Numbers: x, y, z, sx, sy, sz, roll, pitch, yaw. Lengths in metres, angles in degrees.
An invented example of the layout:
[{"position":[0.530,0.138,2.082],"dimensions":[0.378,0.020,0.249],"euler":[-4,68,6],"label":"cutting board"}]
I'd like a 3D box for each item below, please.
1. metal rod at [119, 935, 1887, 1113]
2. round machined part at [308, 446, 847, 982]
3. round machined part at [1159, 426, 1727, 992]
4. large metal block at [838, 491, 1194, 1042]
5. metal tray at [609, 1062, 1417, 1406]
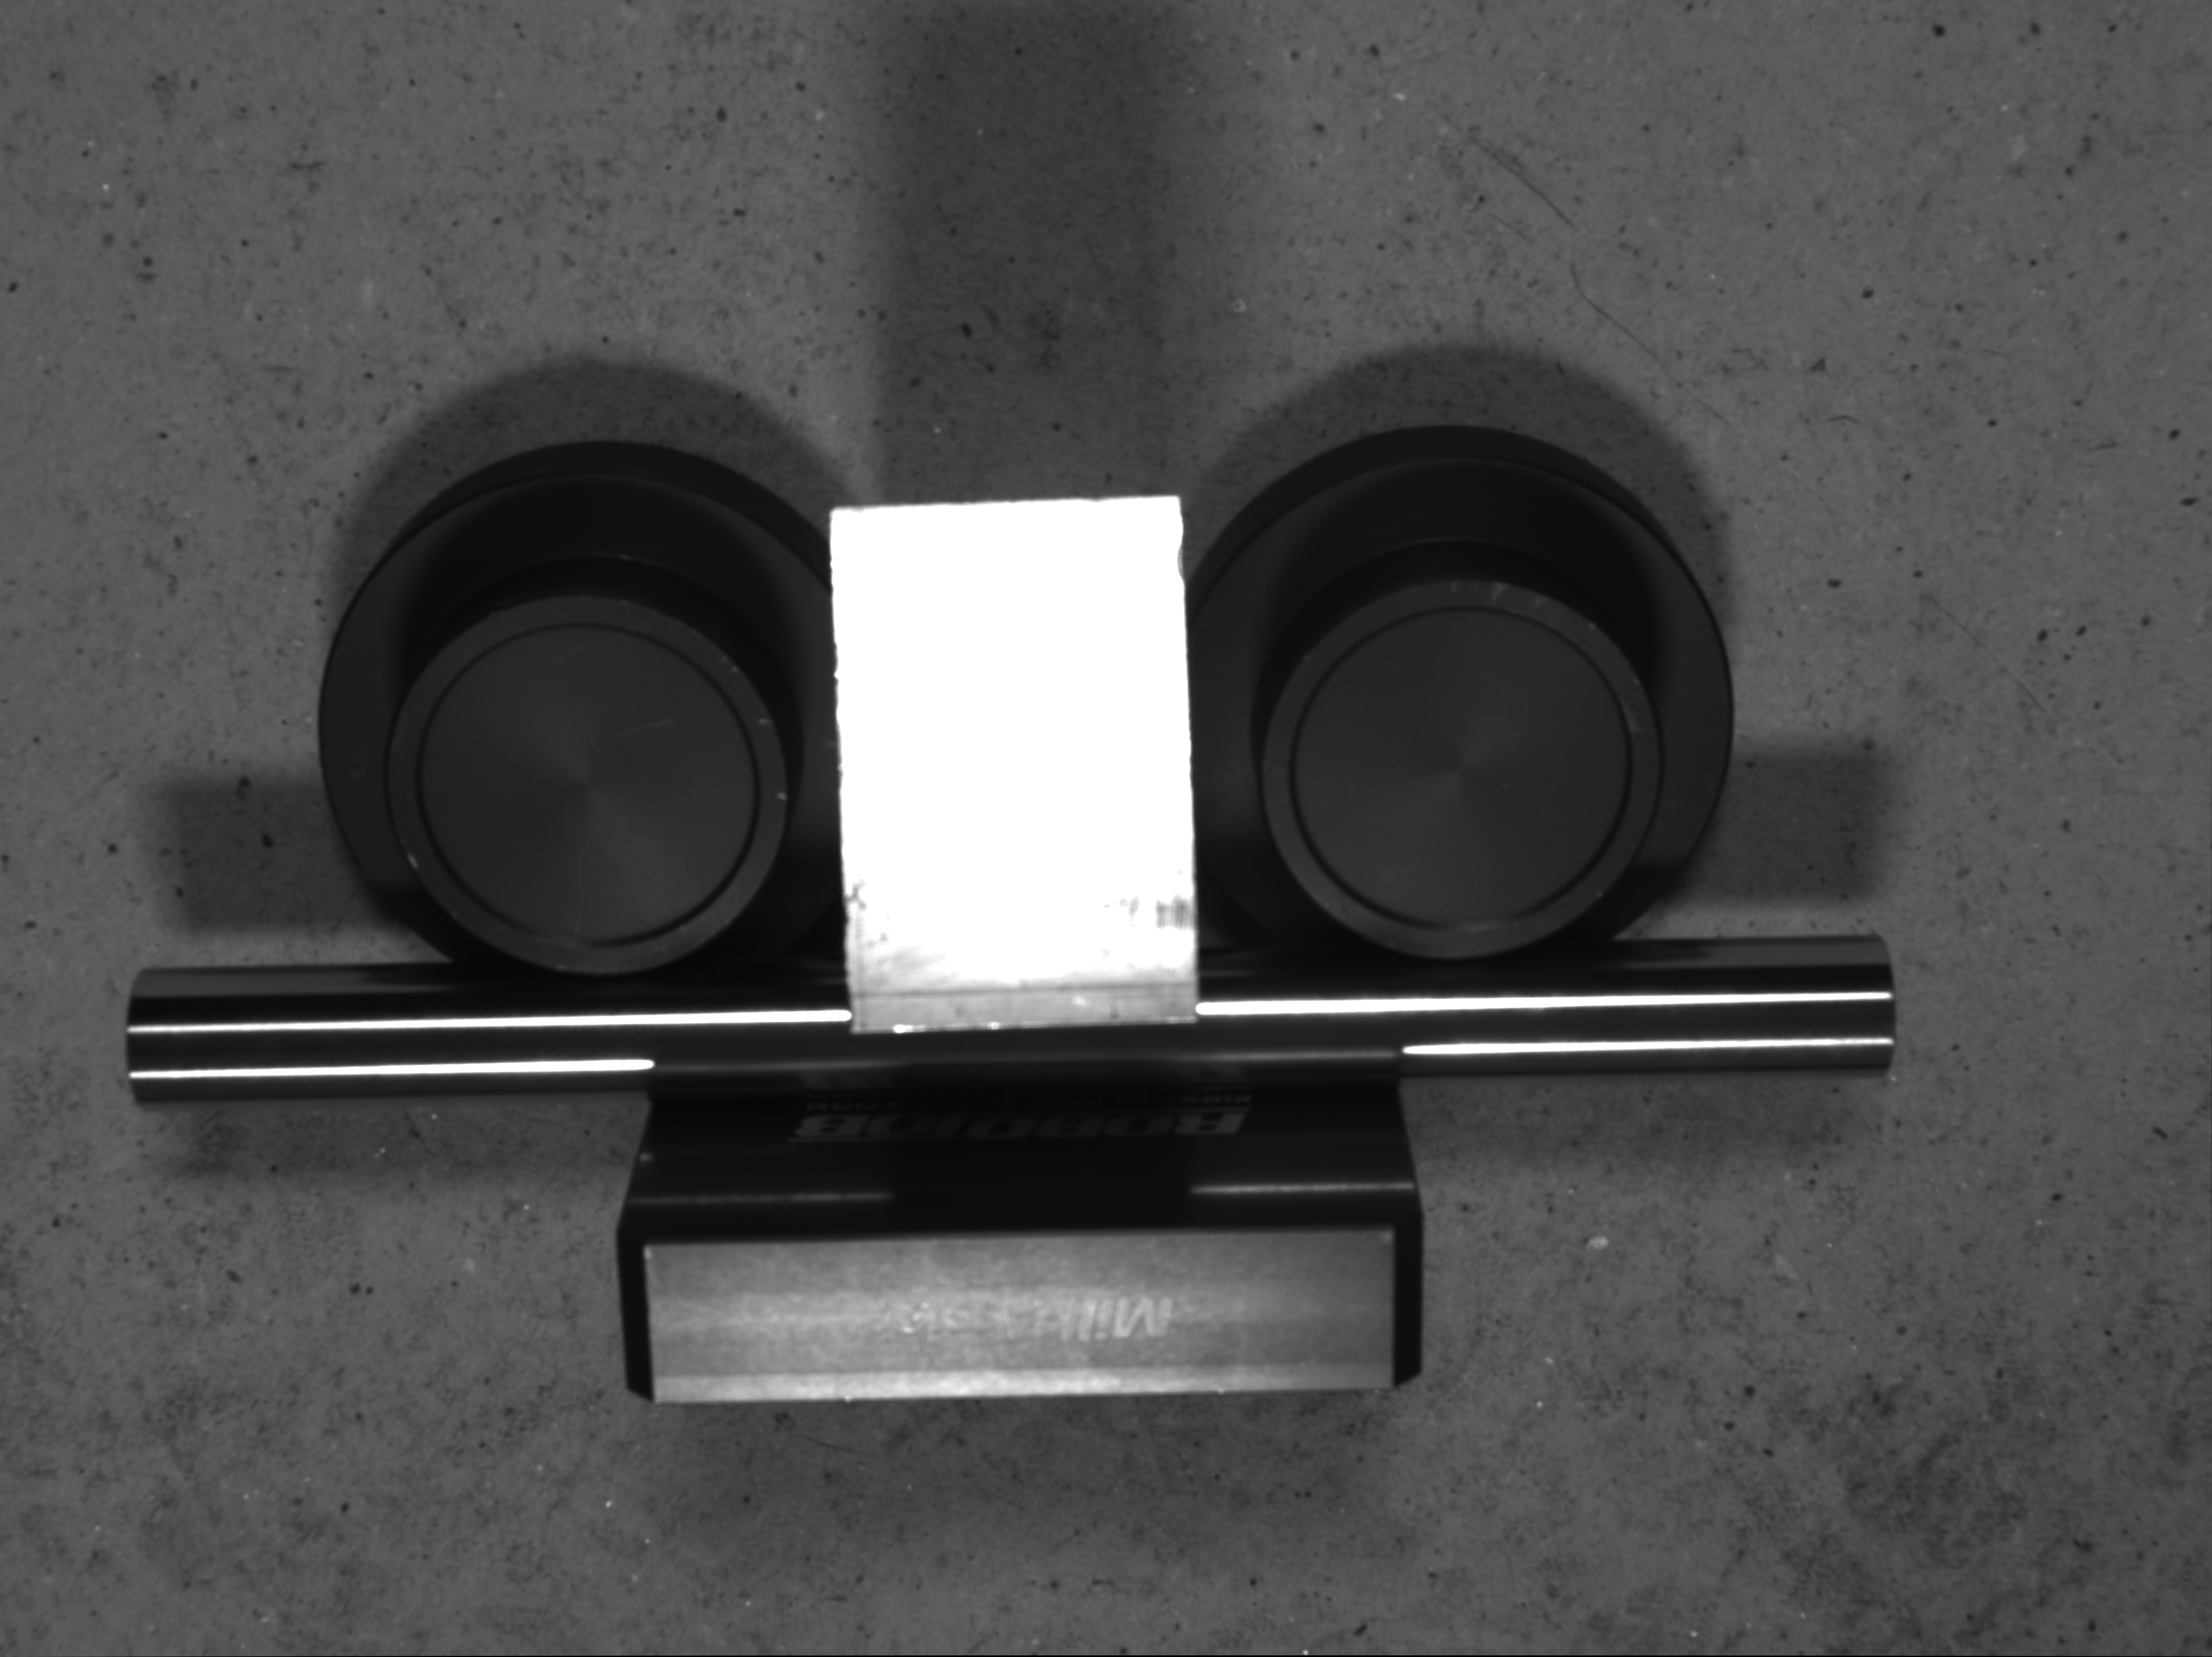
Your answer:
[{"position":[-0.017,0.034,0.634],"dimensions":[0.300,0.025,0.025],"euler":[-1,110,0],"label":"metal rod"},{"position":[-0.087,-0.013,0.626],"dimensions":[0.098,0.042,0.098],"euler":[0,110,-1],"label":"round machined part"},{"position":[0.058,-0.017,0.628],"dimensions":[0.098,0.042,0.098],"euler":[0,110,-1],"label":"round machined part"},{"position":[-0.013,-0.007,0.583],"dimensions":[0.050,0.080,0.080],"euler":[-2,86,0],"label":"large metal block"},{"position":[-0.015,0.064,0.631],"dimensions":[0.130,0.090,0.030],"euler":[-1,110,0],"label":"metal tray"}]
